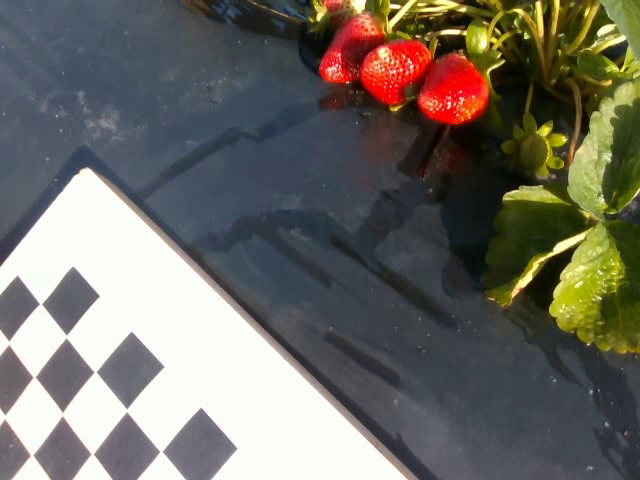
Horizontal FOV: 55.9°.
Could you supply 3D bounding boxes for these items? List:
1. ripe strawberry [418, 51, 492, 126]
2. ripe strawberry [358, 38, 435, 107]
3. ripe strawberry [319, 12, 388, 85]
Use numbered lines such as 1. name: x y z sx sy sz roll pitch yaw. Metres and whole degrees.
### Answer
1. ripe strawberry: 0.056 -0.066 0.273 0.035 0.034 0.041 34 35 26
2. ripe strawberry: 0.034 -0.083 0.282 0.039 0.037 0.031 -1 44 -52
3. ripe strawberry: 0.016 -0.096 0.301 0.031 0.045 0.023 38 -17 26
